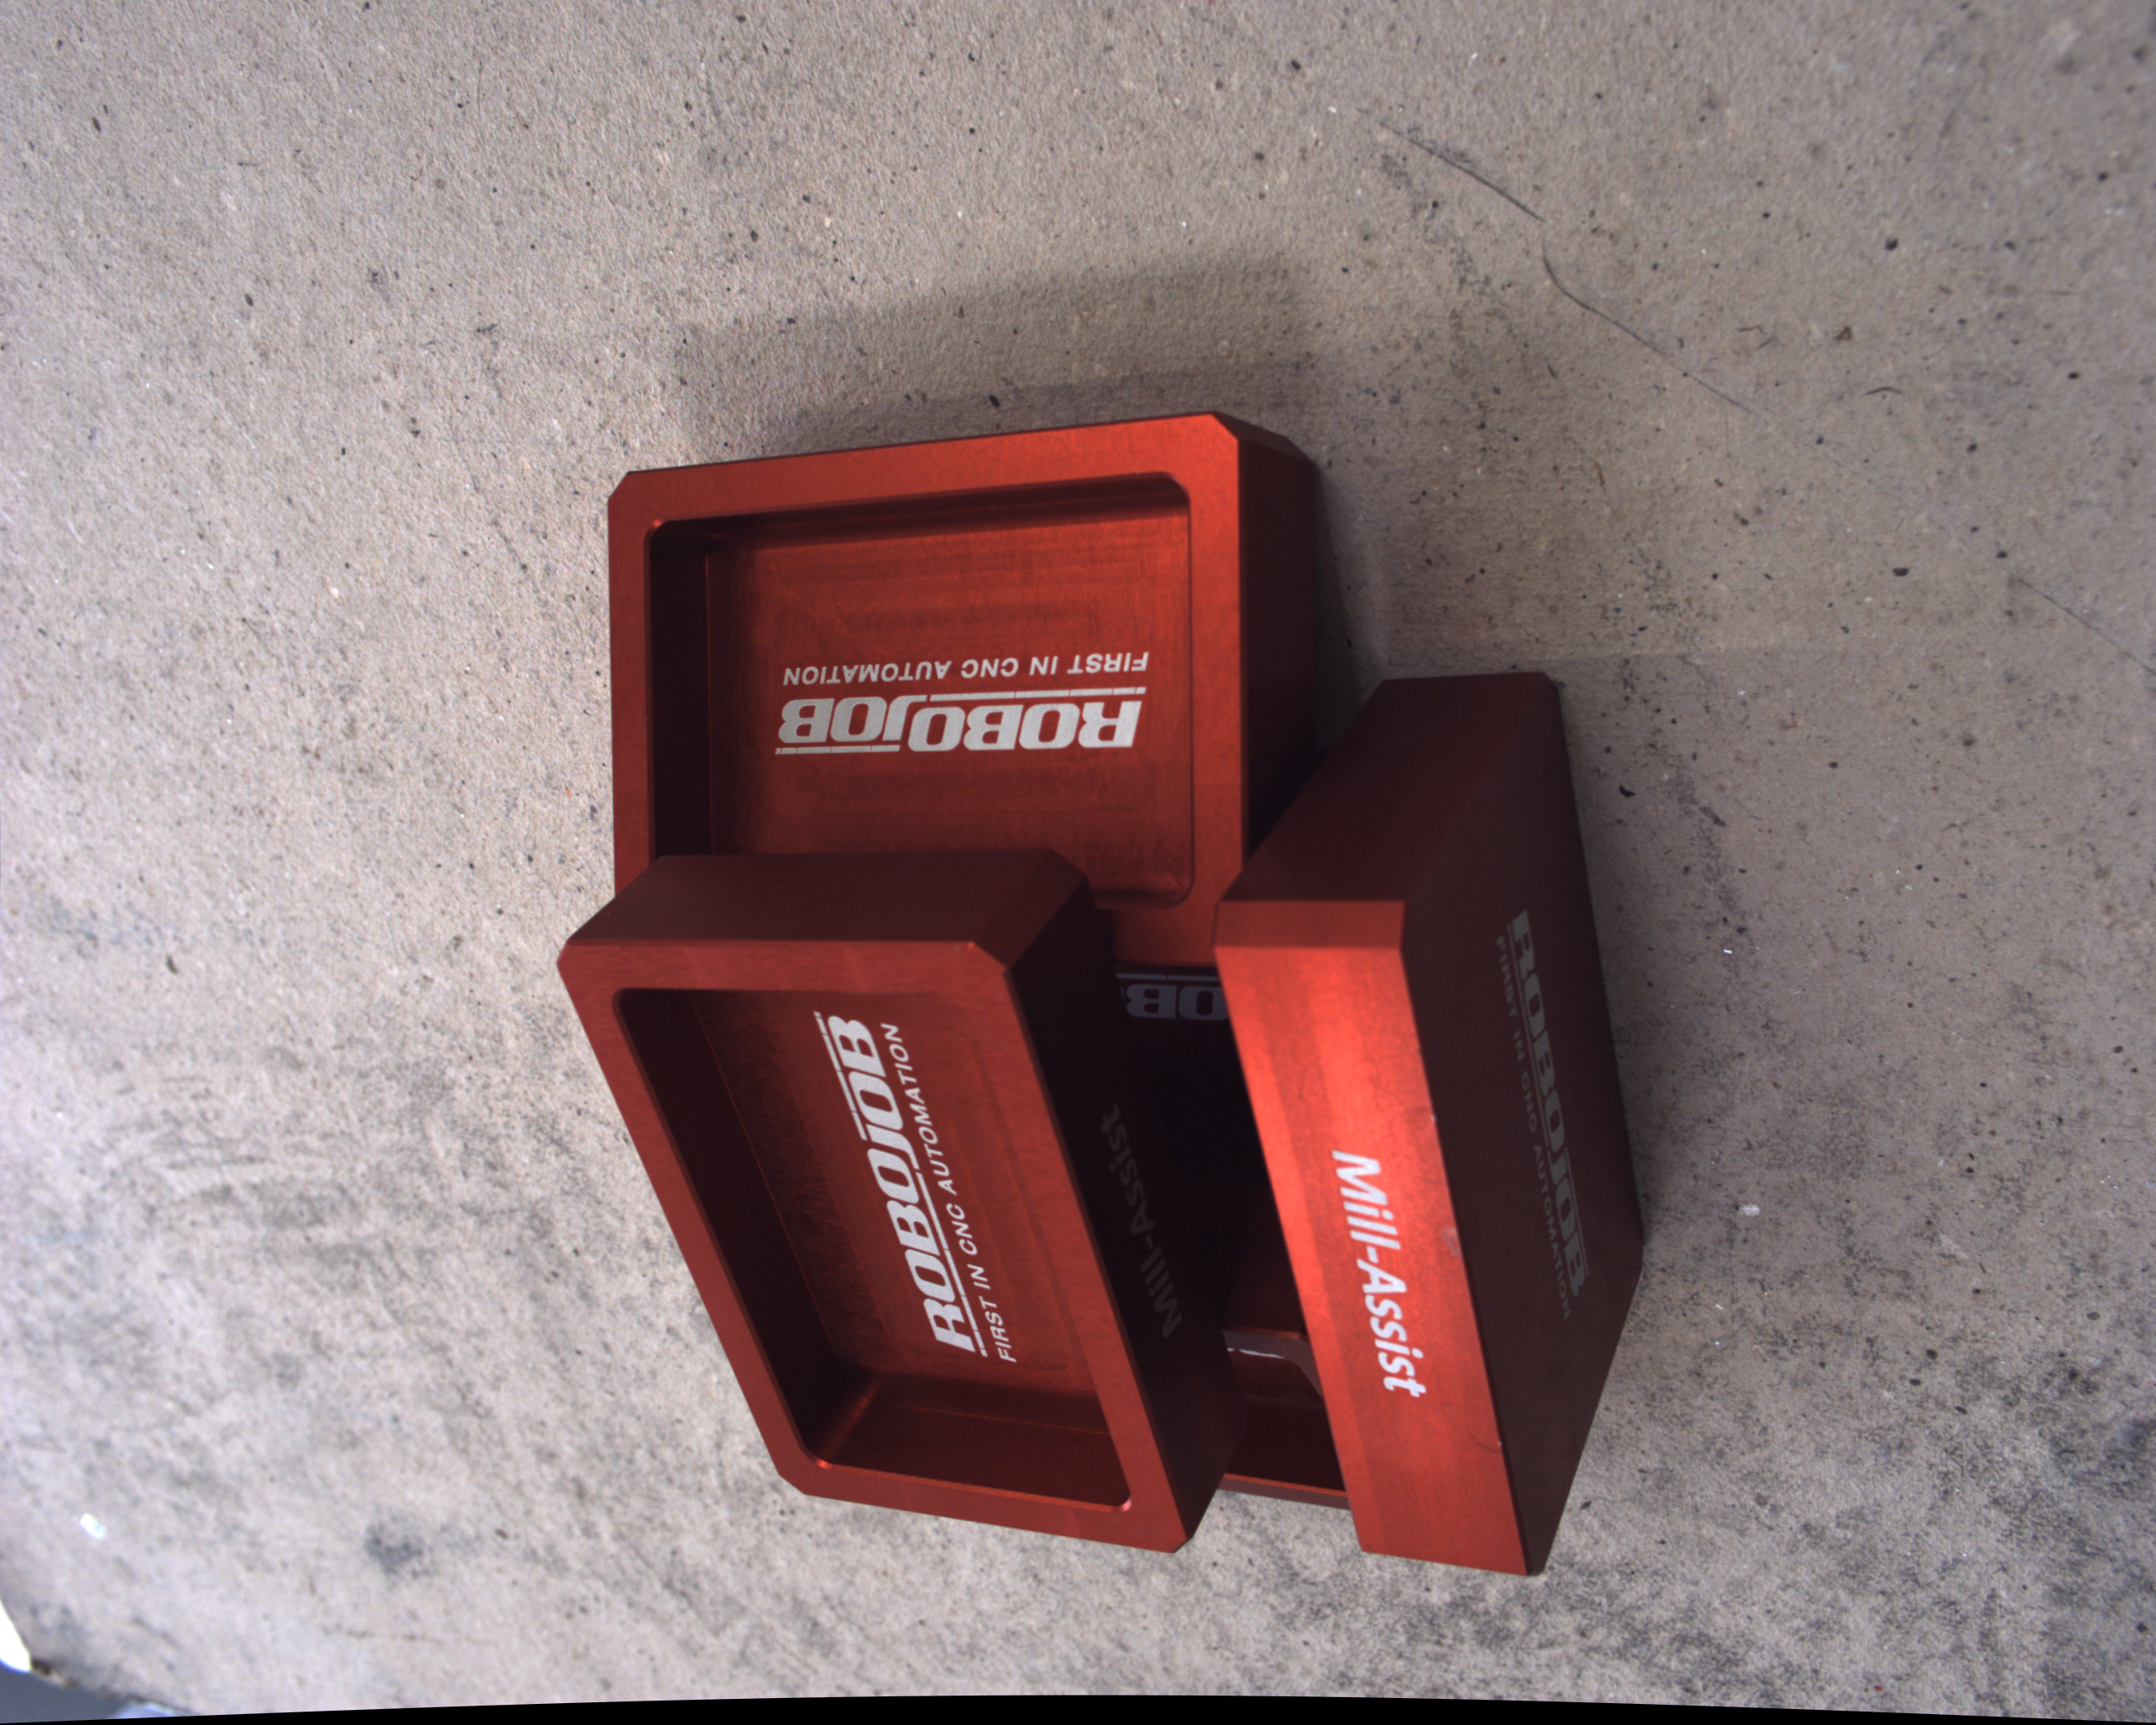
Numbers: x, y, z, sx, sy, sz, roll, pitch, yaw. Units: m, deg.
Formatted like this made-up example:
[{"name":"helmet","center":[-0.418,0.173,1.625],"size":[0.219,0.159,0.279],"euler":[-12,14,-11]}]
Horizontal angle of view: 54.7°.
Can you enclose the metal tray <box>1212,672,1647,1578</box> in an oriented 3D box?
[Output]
[{"name":"metal tray","center":[0.066,0.043,0.358],"size":[0.030,0.090,0.129],"euler":[-1,119,29]}]

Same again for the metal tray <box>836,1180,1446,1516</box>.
[{"name":"metal tray","center":[0.007,0.099,0.440],"size":[0.130,0.030,0.090],"euler":[0,144,28]}]

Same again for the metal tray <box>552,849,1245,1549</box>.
[{"name":"metal tray","center":[-0.030,0.061,0.374],"size":[0.090,0.030,0.129],"euler":[-1,121,29]}]

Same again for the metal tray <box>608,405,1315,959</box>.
[{"name":"metal tray","center":[-0.024,-0.029,0.377],"size":[0.130,0.030,0.089],"euler":[0,91,28]}]

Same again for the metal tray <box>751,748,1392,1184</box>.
[{"name":"metal tray","center":[0.003,0.025,0.416],"size":[0.130,0.030,0.089],"euler":[-1,120,28]}]
